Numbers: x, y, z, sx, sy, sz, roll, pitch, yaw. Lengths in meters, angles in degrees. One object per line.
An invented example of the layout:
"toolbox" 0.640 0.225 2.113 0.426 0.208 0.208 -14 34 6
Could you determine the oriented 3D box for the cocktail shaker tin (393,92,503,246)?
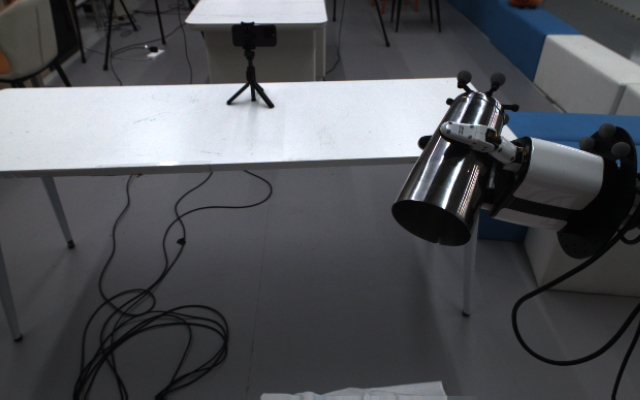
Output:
"cocktail shaker tin" 0.162 -0.045 0.565 0.093 0.093 0.170 18 66 21
